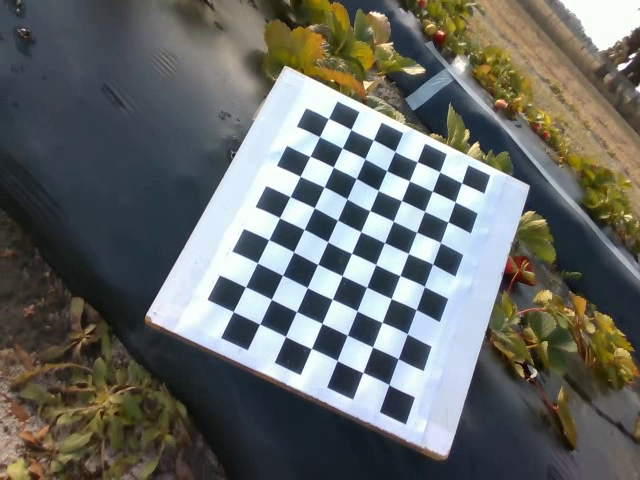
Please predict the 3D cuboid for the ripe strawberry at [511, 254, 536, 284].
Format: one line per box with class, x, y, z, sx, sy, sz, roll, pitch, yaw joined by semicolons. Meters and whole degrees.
ripe strawberry;0.328;0.054;0.971;0.048;0.065;0.050;-21;-18;-19
